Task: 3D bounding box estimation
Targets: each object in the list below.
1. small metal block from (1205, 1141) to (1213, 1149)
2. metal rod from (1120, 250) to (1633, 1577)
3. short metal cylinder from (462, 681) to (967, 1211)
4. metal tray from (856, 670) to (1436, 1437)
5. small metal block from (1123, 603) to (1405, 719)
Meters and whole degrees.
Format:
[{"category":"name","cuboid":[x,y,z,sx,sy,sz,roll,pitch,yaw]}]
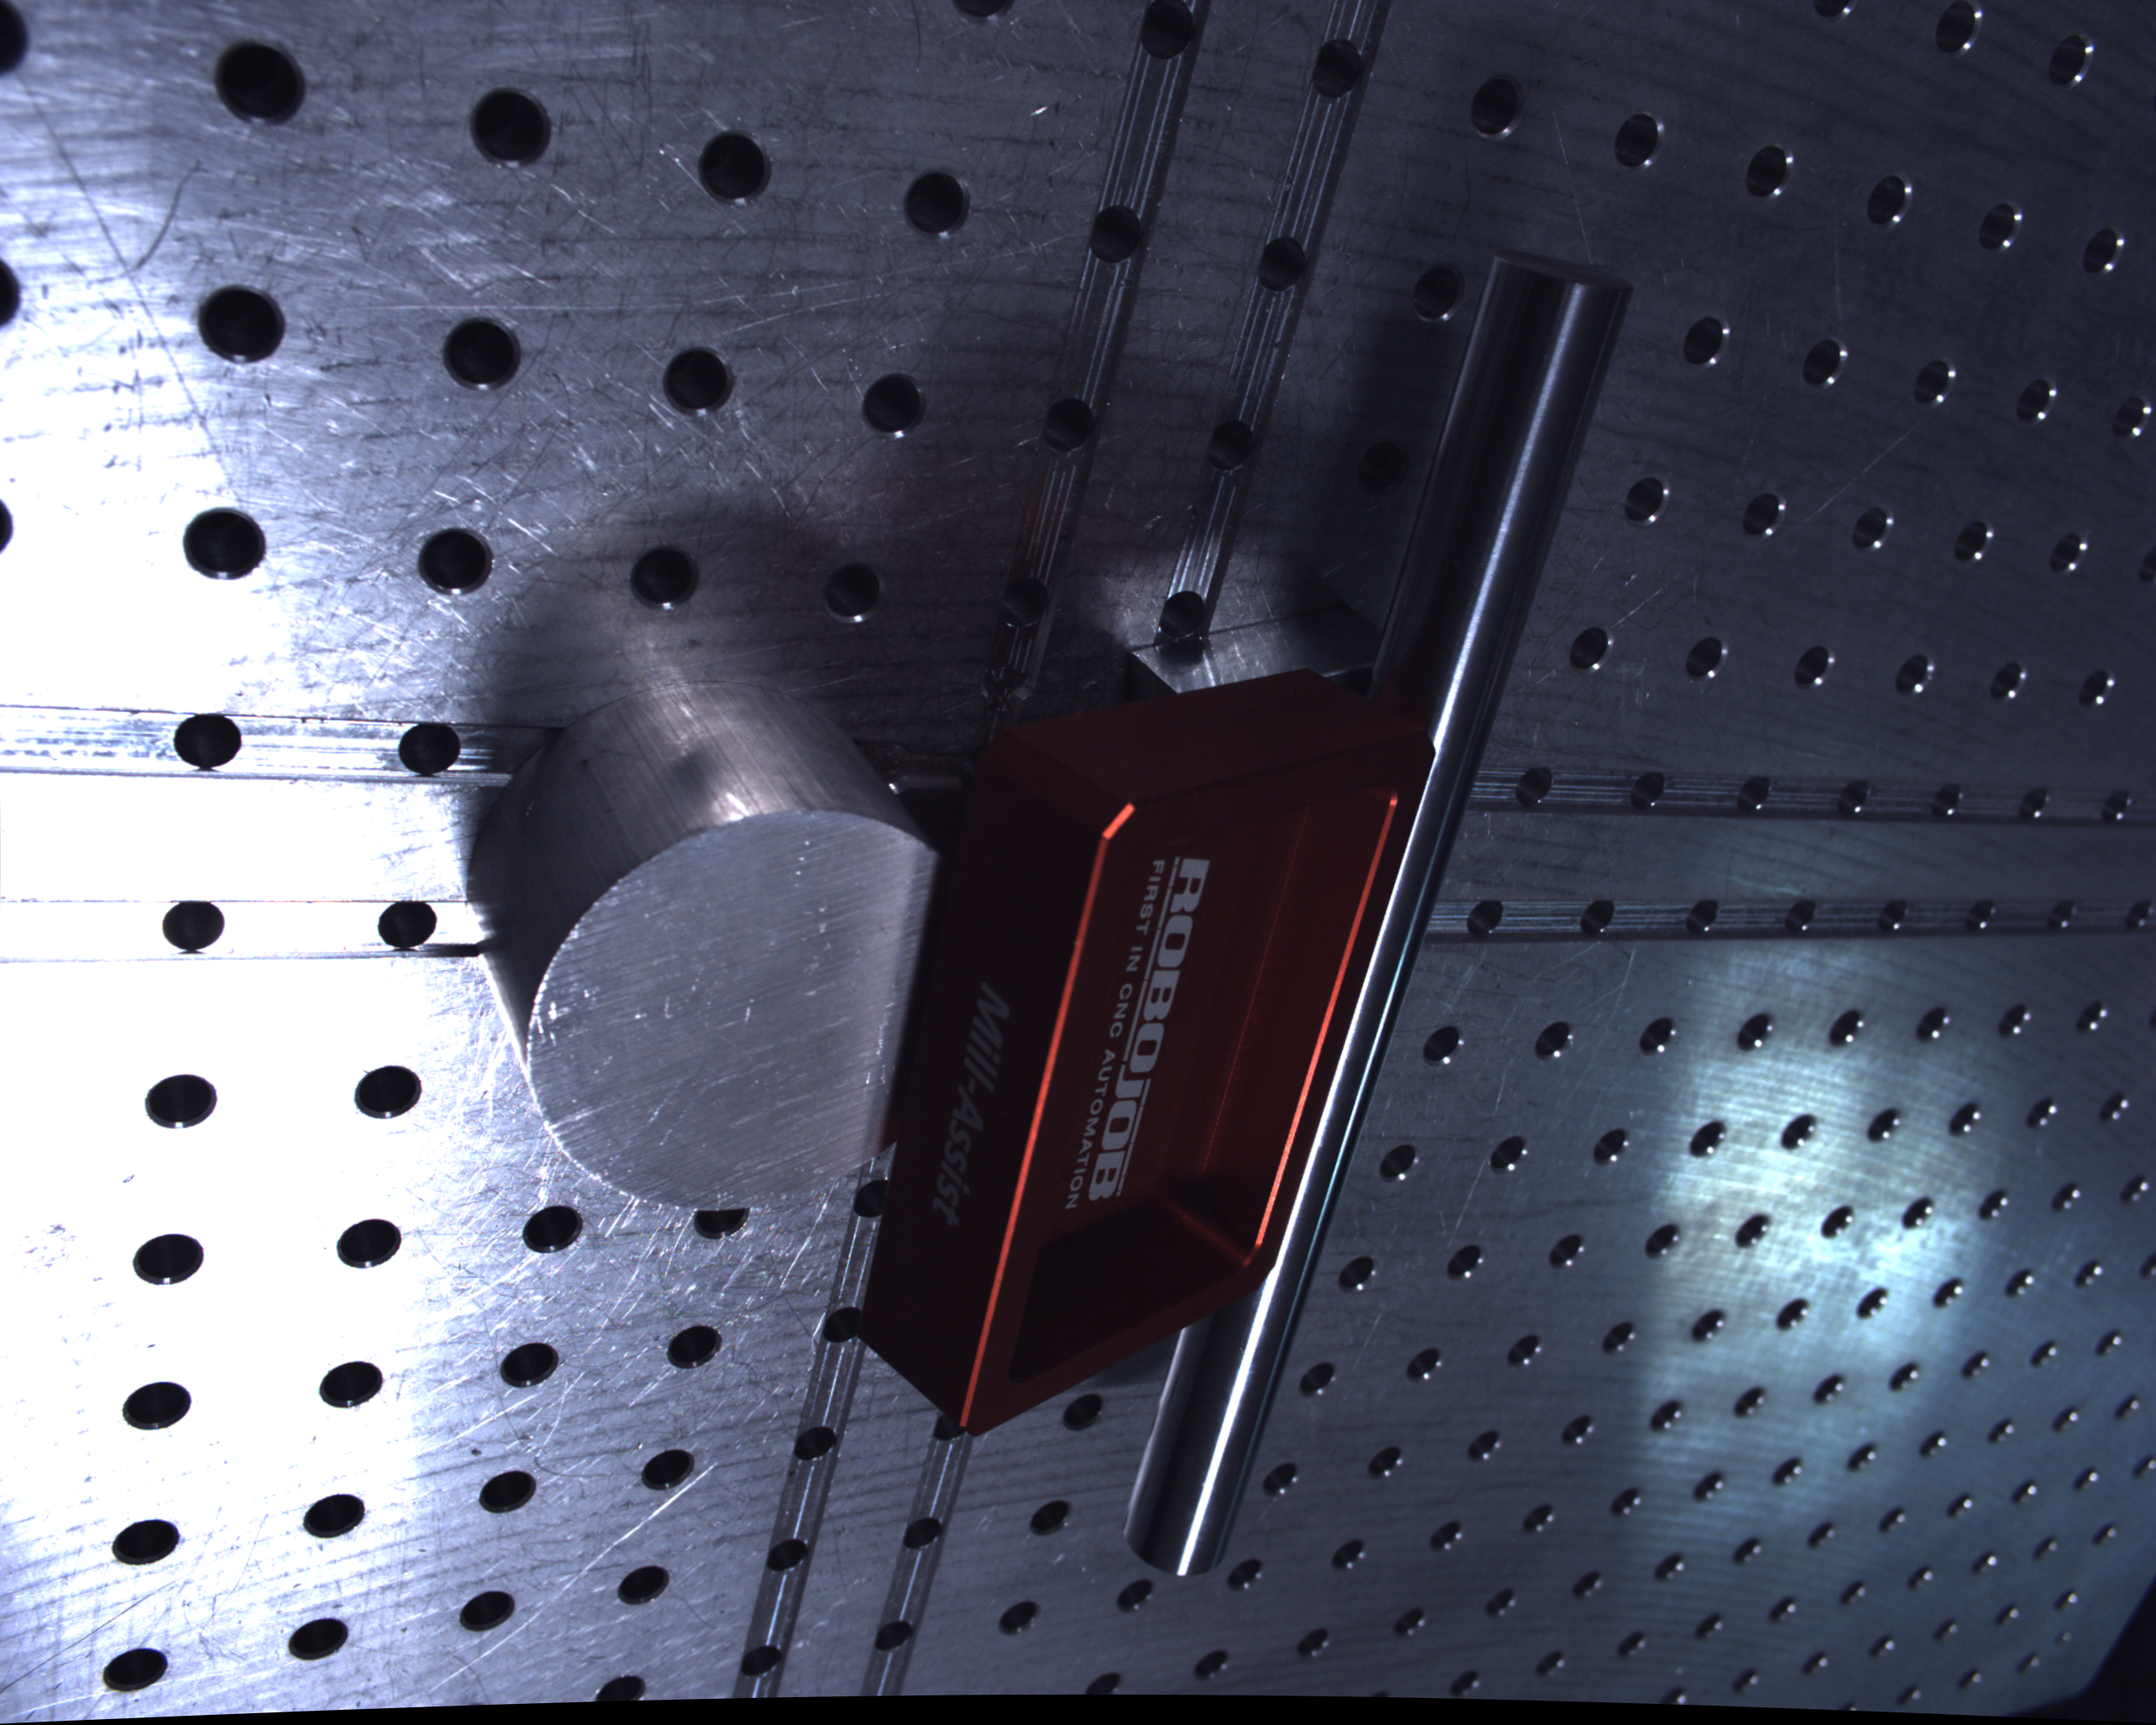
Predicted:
[{"category":"small metal block","cuboid":[0.009,0.057,0.452,0.050,0.025,0.050,-43,130,1]},{"category":"metal rod","cuboid":[0.053,0.028,0.426,0.025,0.025,0.298,-1,119,-28]},{"category":"short metal cylinder","cuboid":[-0.063,0.014,0.370,0.081,0.050,0.079,-14,125,-21]},{"category":"metal tray","cuboid":[0.012,0.034,0.386,0.091,0.030,0.129,-15,127,-44]},{"category":"small metal block","cuboid":[0.037,-0.020,0.421,0.050,0.025,0.050,-14,125,-21]}]
